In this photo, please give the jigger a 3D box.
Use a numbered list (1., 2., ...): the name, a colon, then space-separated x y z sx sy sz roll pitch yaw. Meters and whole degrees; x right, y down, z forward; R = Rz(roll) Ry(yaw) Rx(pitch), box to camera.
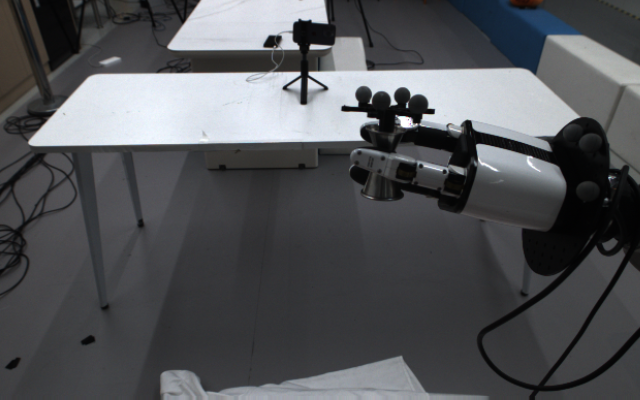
1. jigger: 0.064 -0.039 0.487 0.043 0.071 0.043 1 20 0
